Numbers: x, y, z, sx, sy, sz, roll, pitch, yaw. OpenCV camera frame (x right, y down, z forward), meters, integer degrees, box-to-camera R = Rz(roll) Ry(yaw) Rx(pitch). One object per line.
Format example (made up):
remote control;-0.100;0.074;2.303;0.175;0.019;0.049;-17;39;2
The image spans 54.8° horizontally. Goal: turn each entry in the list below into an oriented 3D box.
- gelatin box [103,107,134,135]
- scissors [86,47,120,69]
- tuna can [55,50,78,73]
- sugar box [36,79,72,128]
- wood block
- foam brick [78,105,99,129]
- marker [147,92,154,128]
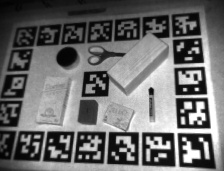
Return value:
gelatin box;0.023;0.121;0.743;0.088;0.030;0.073;18;78;17
scissors;-0.006;-0.102;0.830;0.201;0.016;0.087;6;74;16
tuna can;-0.178;-0.095;0.851;0.085;0.034;0.085;-3;72;11
sugar box;-0.213;0.066;0.805;0.092;0.046;0.176;4;73;13
wood block;0.096;-0.055;0.756;0.206;0.092;0.089;-44;68;-5
foam brick;-0.081;0.110;0.753;0.052;0.052;0.078;1;73;13
marker;0.132;0.082;0.736;0.019;0.020;0.121;1;75;13
